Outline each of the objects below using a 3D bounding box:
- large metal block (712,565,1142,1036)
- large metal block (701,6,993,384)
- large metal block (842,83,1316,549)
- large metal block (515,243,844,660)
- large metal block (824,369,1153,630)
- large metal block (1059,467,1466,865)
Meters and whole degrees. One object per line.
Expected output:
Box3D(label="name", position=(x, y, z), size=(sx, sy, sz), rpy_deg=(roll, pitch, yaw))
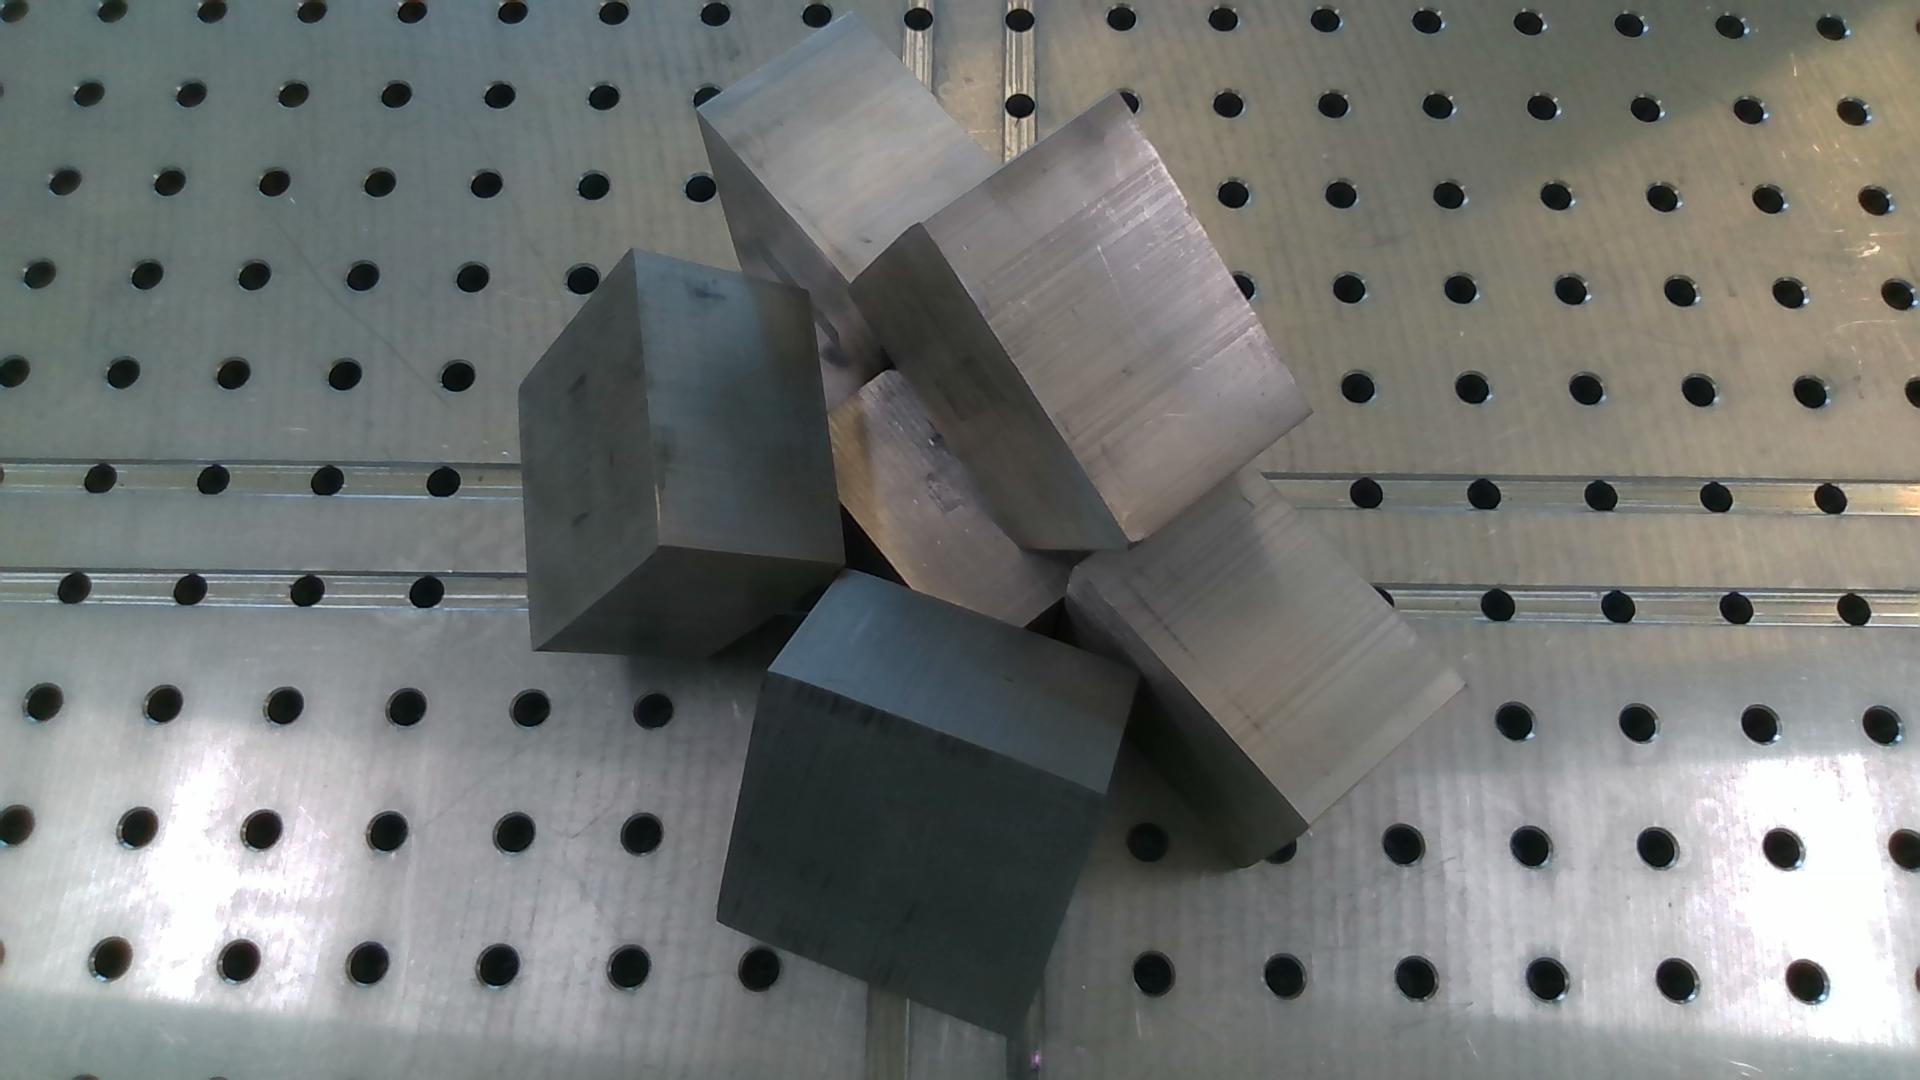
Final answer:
Box3D(label="large metal block", position=(-0.009, 0.063, 0.339), size=(0.080, 0.080, 0.050), rpy_deg=(19, 30, 7))
Box3D(label="large metal block", position=(-0.024, -0.089, 0.399), size=(0.050, 0.080, 0.080), rpy_deg=(-37, 74, -12))
Box3D(label="large metal block", position=(0.023, -0.045, 0.318), size=(0.050, 0.080, 0.080), rpy_deg=(-36, 99, -12))
Box3D(label="large metal block", position=(-0.078, -0.019, 0.368), size=(0.050, 0.080, 0.080), rpy_deg=(6, 65, -37))
Box3D(label="large metal block", position=(0.009, -0.012, 0.390), size=(0.080, 0.050, 0.080), rpy_deg=(-38, 74, -12))
Box3D(label="large metal block", position=(0.071, 0.032, 0.357), size=(0.050, 0.080, 0.080), rpy_deg=(-38, 75, -12))
